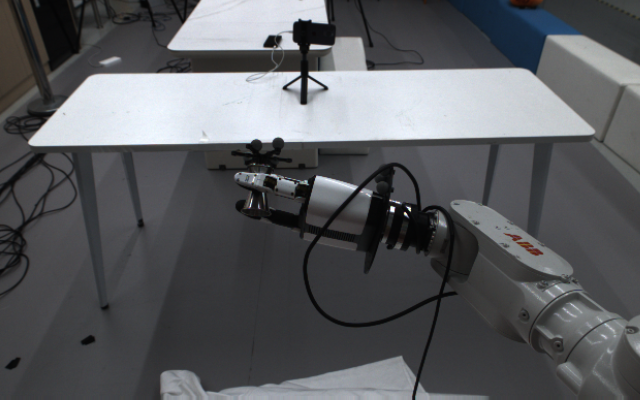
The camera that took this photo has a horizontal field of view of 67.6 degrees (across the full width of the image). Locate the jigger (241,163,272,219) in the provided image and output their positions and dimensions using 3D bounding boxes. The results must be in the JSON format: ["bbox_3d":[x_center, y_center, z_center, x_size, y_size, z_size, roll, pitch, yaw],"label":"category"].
[{"bbox_3d":[-0.090,-0.015,0.699,0.043,0.043,0.071,3,75,2],"label":"jigger"}]
